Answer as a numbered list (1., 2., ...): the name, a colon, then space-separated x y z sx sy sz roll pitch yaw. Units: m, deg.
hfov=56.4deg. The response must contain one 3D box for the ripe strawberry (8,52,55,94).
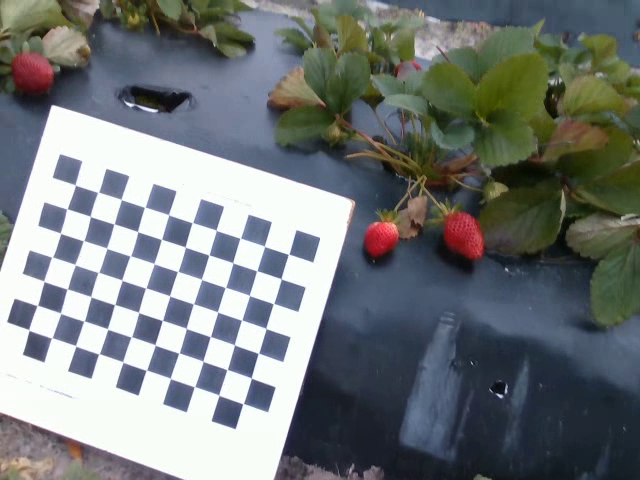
1. ripe strawberry: -0.310 -0.181 0.642 0.064 0.046 0.048 25 5 37

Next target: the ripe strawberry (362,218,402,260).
1. ripe strawberry: 0.058 -0.002 0.555 0.036 0.041 0.028 16 -21 14

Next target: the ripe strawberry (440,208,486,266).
1. ripe strawberry: 0.138 -0.005 0.564 0.044 0.059 0.041 -32 -28 11
